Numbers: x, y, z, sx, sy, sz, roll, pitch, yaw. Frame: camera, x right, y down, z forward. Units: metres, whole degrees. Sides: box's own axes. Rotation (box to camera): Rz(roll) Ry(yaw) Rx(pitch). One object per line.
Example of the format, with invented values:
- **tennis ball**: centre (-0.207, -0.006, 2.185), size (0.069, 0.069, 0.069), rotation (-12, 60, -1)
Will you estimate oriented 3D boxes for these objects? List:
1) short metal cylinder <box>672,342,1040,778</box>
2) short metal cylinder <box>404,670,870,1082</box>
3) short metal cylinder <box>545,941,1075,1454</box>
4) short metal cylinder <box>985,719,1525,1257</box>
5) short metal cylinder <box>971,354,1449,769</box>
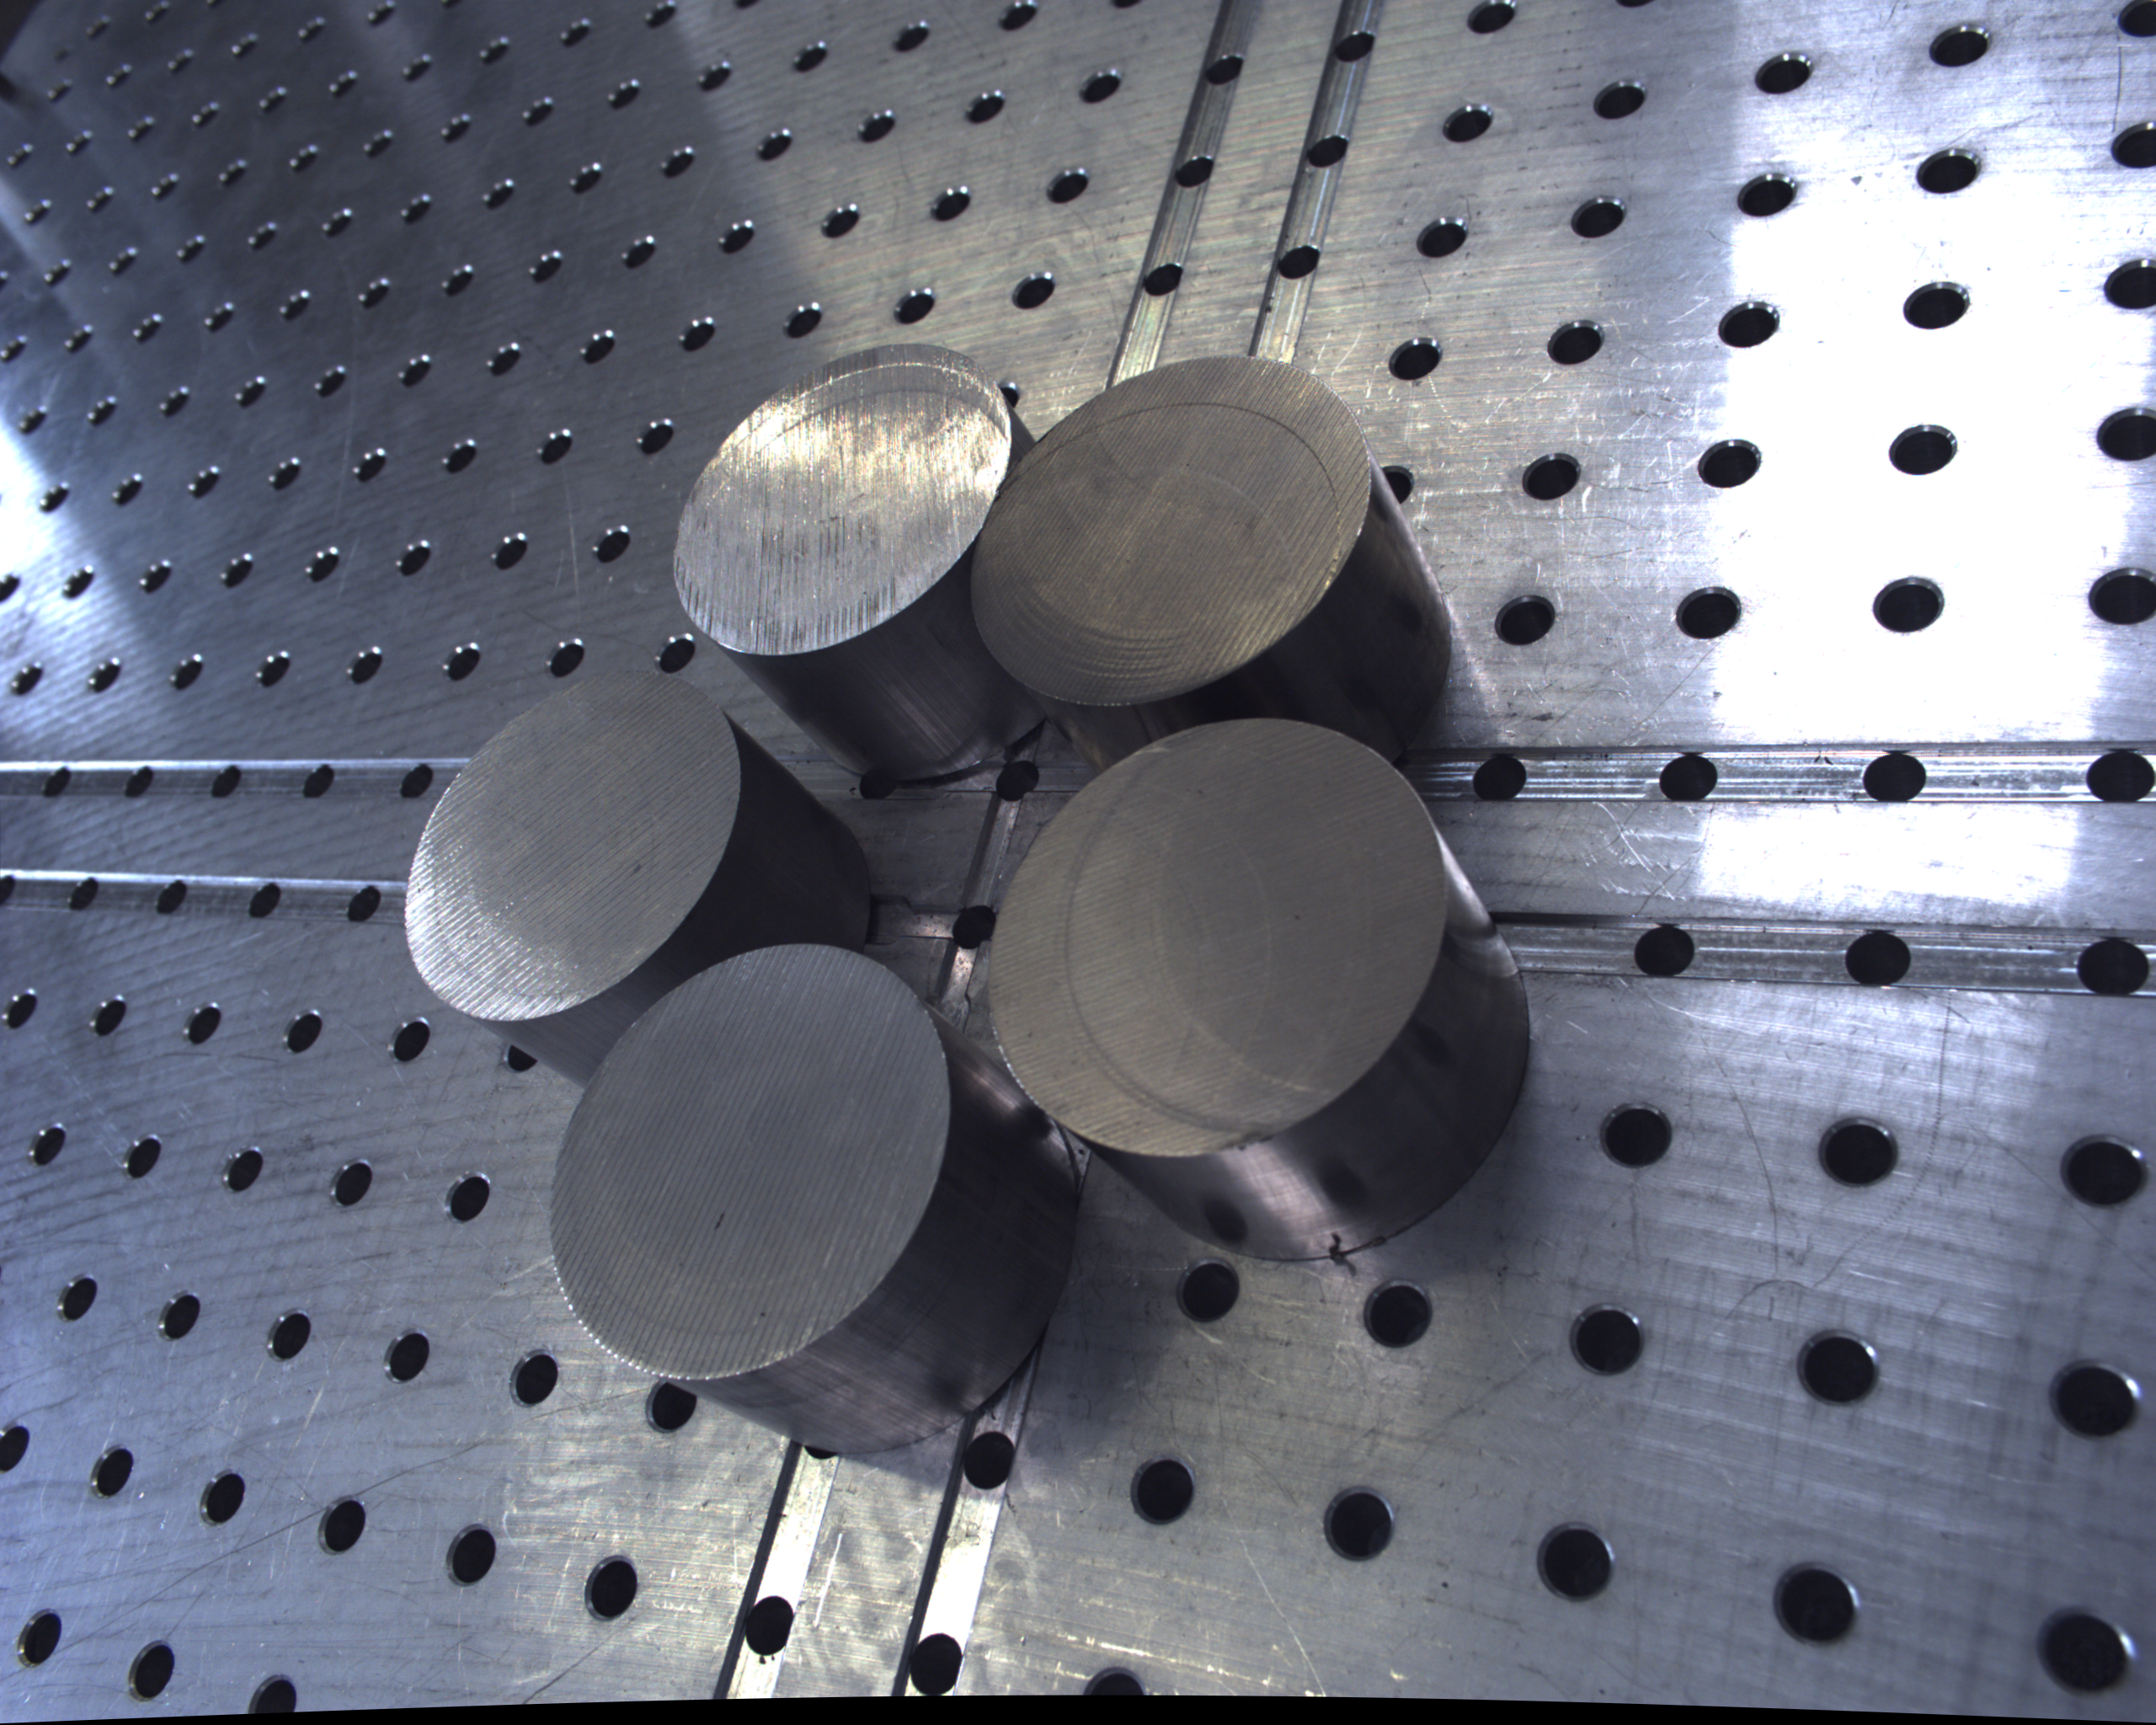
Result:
- **short metal cylinder**: centre (-0.040, -0.065, 0.452), size (0.080, 0.050, 0.080), rotation (-13, 56, 21)
- **short metal cylinder**: centre (-0.091, 0.007, 0.436), size (0.080, 0.050, 0.080), rotation (-13, 57, 21)
- **short metal cylinder**: centre (-0.048, 0.061, 0.378), size (0.080, 0.050, 0.080), rotation (-14, 55, 21)
- **short metal cylinder**: centre (0.031, 0.022, 0.361), size (0.080, 0.050, 0.080), rotation (-13, 58, 21)
- **short metal cylinder**: centre (0.026, -0.052, 0.409), size (0.080, 0.050, 0.080), rotation (-13, 56, 21)
